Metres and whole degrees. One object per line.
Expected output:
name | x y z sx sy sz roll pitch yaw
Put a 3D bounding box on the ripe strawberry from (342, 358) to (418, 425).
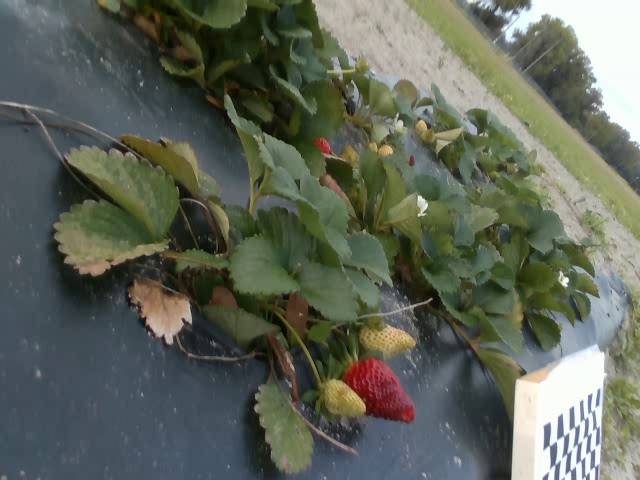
ripe strawberry | 0.042 0.105 0.407 0.059 0.046 0.046 29 20 33
